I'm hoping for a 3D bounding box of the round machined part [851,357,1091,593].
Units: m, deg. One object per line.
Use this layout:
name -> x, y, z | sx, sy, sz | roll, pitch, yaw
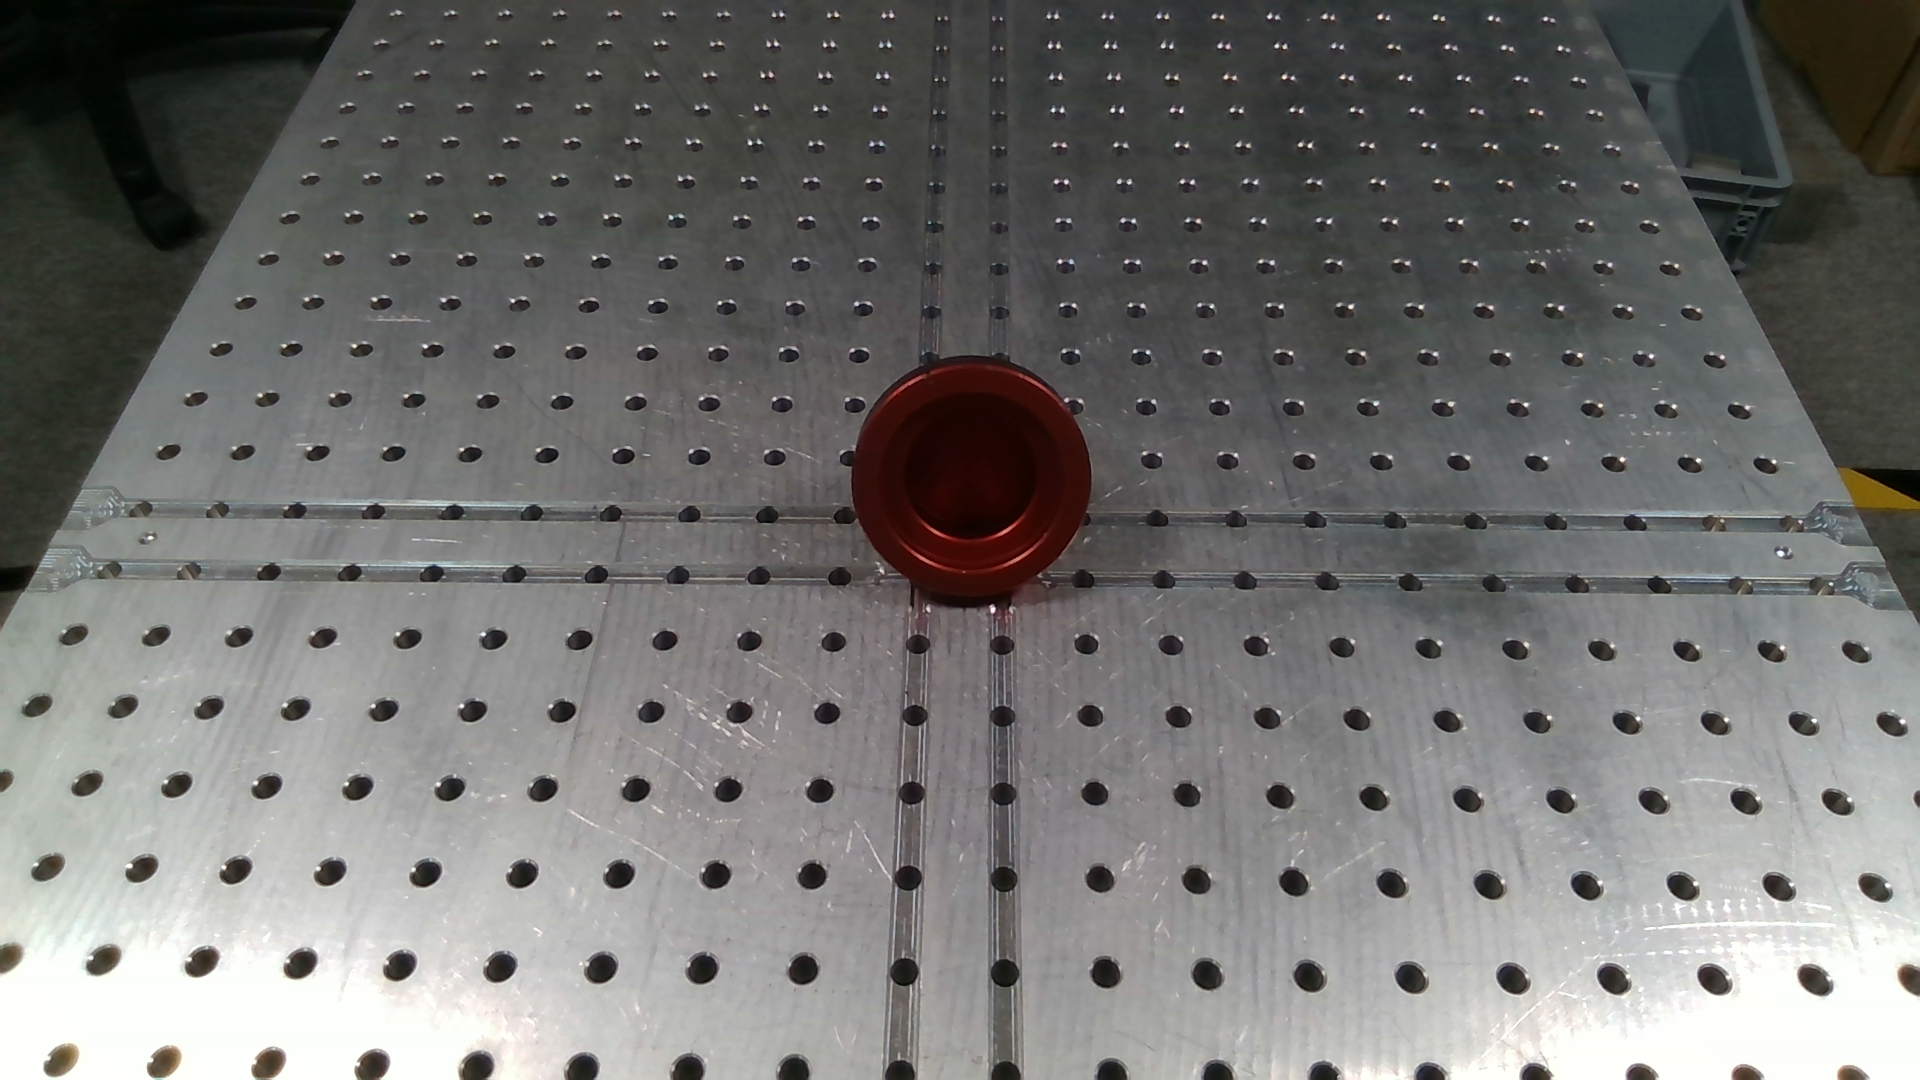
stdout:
round machined part -> 0.004, -0.030, 0.579 | 0.098, 0.098, 0.042 | -2, 19, -2
